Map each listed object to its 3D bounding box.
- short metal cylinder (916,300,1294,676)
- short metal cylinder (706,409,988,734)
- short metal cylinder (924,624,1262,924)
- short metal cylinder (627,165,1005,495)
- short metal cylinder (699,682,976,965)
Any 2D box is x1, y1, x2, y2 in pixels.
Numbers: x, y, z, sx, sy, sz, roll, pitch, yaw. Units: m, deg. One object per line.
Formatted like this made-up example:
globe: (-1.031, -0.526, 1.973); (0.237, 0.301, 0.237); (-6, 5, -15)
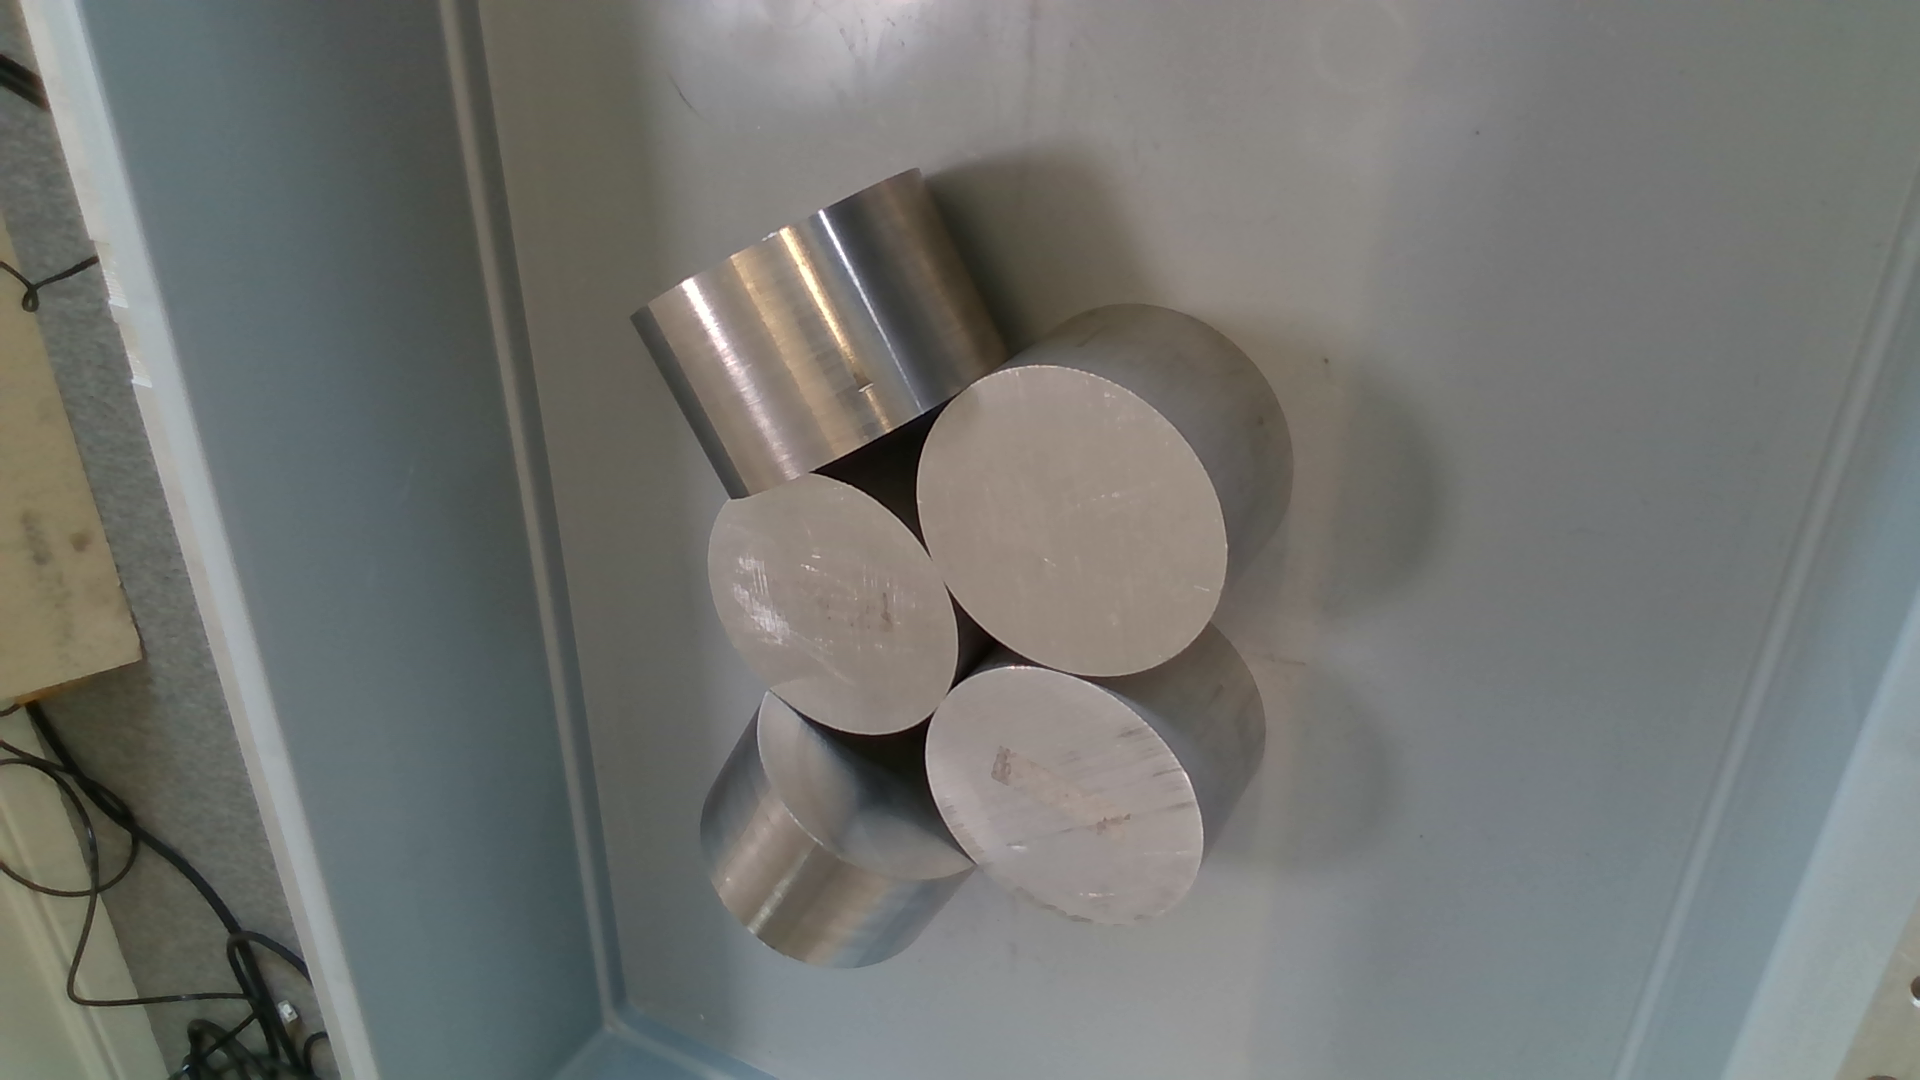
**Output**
short metal cylinder: (0.036, -0.013, 0.342); (0.080, 0.050, 0.080); (15, 122, 25)
short metal cylinder: (-0.024, 0.007, 0.390); (0.080, 0.050, 0.080); (15, 122, 25)
short metal cylinder: (0.037, 0.057, 0.380); (0.080, 0.050, 0.080); (15, 122, 25)
short metal cylinder: (-0.035, -0.052, 0.345); (0.080, 0.080, 0.050); (-18, 104, 37)
short metal cylinder: (-0.032, 0.079, 0.415); (0.080, 0.080, 0.050); (39, 129, 8)
